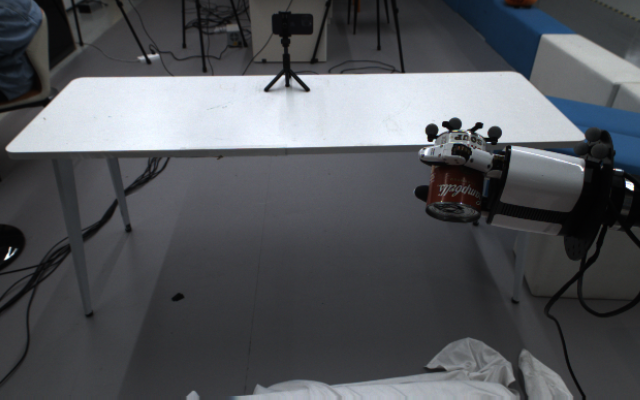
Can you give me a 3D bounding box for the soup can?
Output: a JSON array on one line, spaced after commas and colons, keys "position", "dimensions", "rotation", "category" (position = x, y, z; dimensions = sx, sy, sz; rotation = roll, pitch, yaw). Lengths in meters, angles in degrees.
[{"position": [0.176, -0.030, 0.615], "dimensions": [0.067, 0.067, 0.101], "rotation": [9, 70, 10], "category": "soup can"}]
